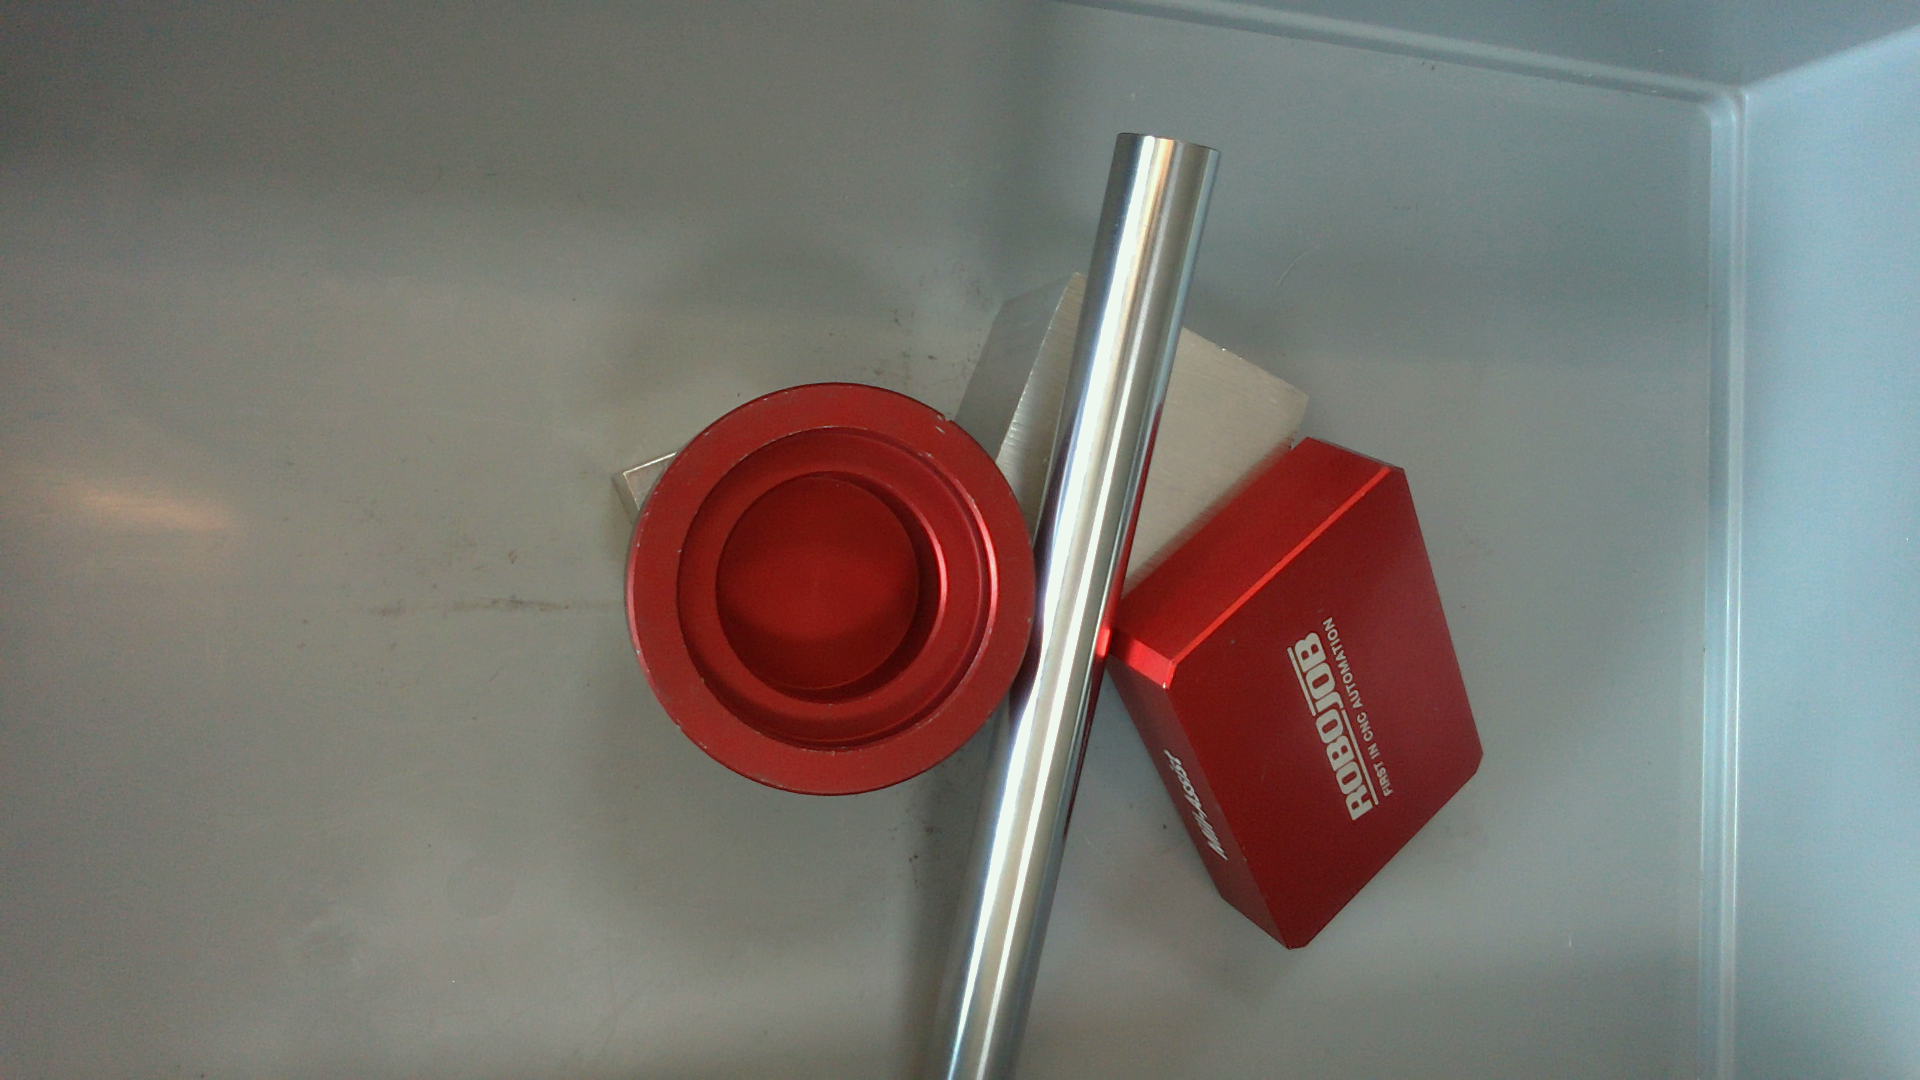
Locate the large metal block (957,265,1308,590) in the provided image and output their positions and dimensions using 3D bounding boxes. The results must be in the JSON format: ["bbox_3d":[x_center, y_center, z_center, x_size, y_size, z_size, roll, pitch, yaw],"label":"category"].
[{"bbox_3d":[0.041,-0.020,0.394,0.080,0.050,0.080,24,82,-18],"label":"large metal block"}]

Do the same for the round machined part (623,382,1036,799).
[{"bbox_3d":[-0.034,0.012,0.342,0.098,0.042,0.098,0,91,-17],"label":"round machined part"}]

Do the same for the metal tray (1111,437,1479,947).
[{"bbox_3d":[0.100,0.047,0.399,0.090,0.030,0.130,-40,128,-15],"label":"metal tray"}]

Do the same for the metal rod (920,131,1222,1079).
[{"bbox_3d":[0.021,0.050,0.358,0.025,0.025,0.300,6,104,-20],"label":"metal rod"}]

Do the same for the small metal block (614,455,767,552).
[{"bbox_3d":[-0.060,-0.004,0.371,0.050,0.025,0.050,-23,98,-18],"label":"small metal block"}]
